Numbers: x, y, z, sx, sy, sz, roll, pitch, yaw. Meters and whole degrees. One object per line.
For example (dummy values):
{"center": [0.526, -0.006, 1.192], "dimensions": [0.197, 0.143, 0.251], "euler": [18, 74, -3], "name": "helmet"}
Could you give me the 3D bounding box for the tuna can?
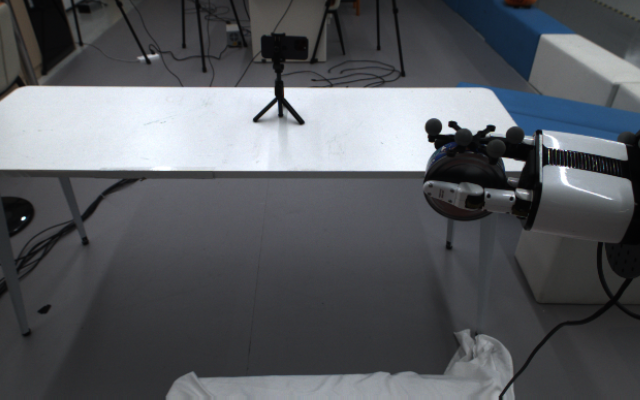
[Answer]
{"center": [0.159, -0.025, 0.525], "dimensions": [0.085, 0.085, 0.034], "euler": [10, 34, 11], "name": "tuna can"}
